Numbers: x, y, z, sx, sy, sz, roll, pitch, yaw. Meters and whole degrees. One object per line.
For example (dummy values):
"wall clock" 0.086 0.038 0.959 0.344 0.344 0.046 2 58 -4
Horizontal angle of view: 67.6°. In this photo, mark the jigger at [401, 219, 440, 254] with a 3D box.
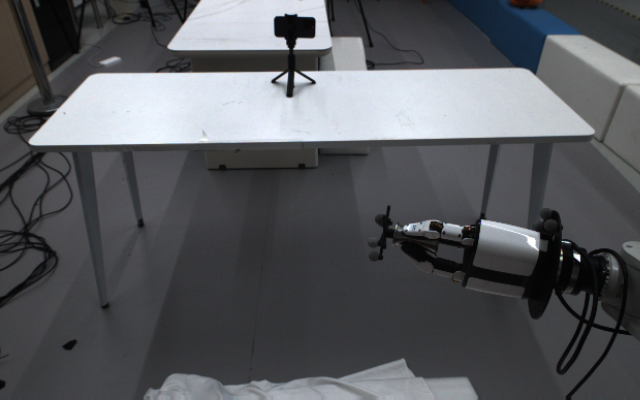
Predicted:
"jigger" 0.157 0.055 0.752 0.071 0.043 0.043 10 35 15
